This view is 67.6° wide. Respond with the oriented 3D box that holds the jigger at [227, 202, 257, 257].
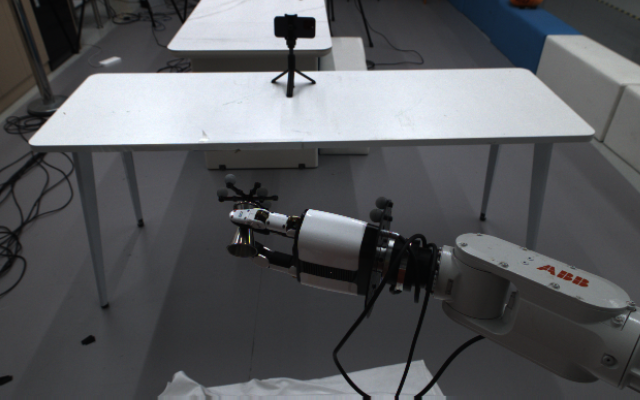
[{"bbox_3d":[-0.107,0.039,0.682,0.043,0.043,0.071,2,59,0],"label":"jigger"}]
